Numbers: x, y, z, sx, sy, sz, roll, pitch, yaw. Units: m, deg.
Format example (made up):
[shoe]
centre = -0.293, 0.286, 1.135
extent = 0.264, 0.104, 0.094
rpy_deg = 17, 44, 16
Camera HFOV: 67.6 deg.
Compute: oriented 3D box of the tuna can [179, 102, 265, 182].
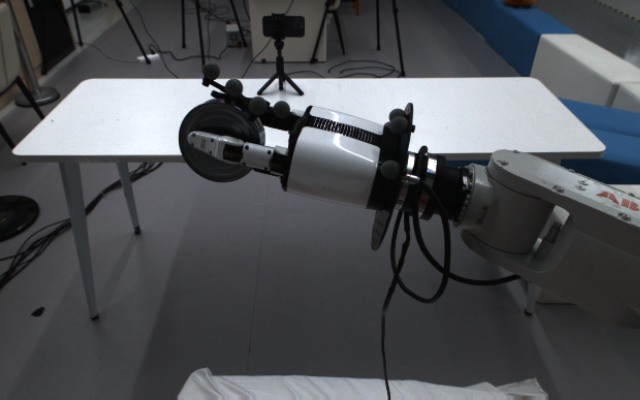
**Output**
[tuna can]
centre = -0.101, -0.065, 0.513
extent = 0.085, 0.085, 0.034
rpy_deg = 4, 20, 3
